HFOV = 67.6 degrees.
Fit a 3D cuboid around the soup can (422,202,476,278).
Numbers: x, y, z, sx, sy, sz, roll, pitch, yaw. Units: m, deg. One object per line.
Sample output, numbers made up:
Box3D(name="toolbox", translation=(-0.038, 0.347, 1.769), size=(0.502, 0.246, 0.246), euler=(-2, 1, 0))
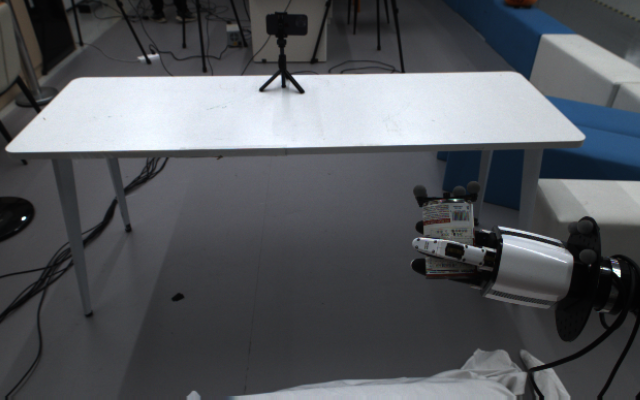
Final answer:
Box3D(name="soup can", translation=(0.174, 0.054, 0.644), size=(0.067, 0.101, 0.067), euler=(-1, -9, 0))
